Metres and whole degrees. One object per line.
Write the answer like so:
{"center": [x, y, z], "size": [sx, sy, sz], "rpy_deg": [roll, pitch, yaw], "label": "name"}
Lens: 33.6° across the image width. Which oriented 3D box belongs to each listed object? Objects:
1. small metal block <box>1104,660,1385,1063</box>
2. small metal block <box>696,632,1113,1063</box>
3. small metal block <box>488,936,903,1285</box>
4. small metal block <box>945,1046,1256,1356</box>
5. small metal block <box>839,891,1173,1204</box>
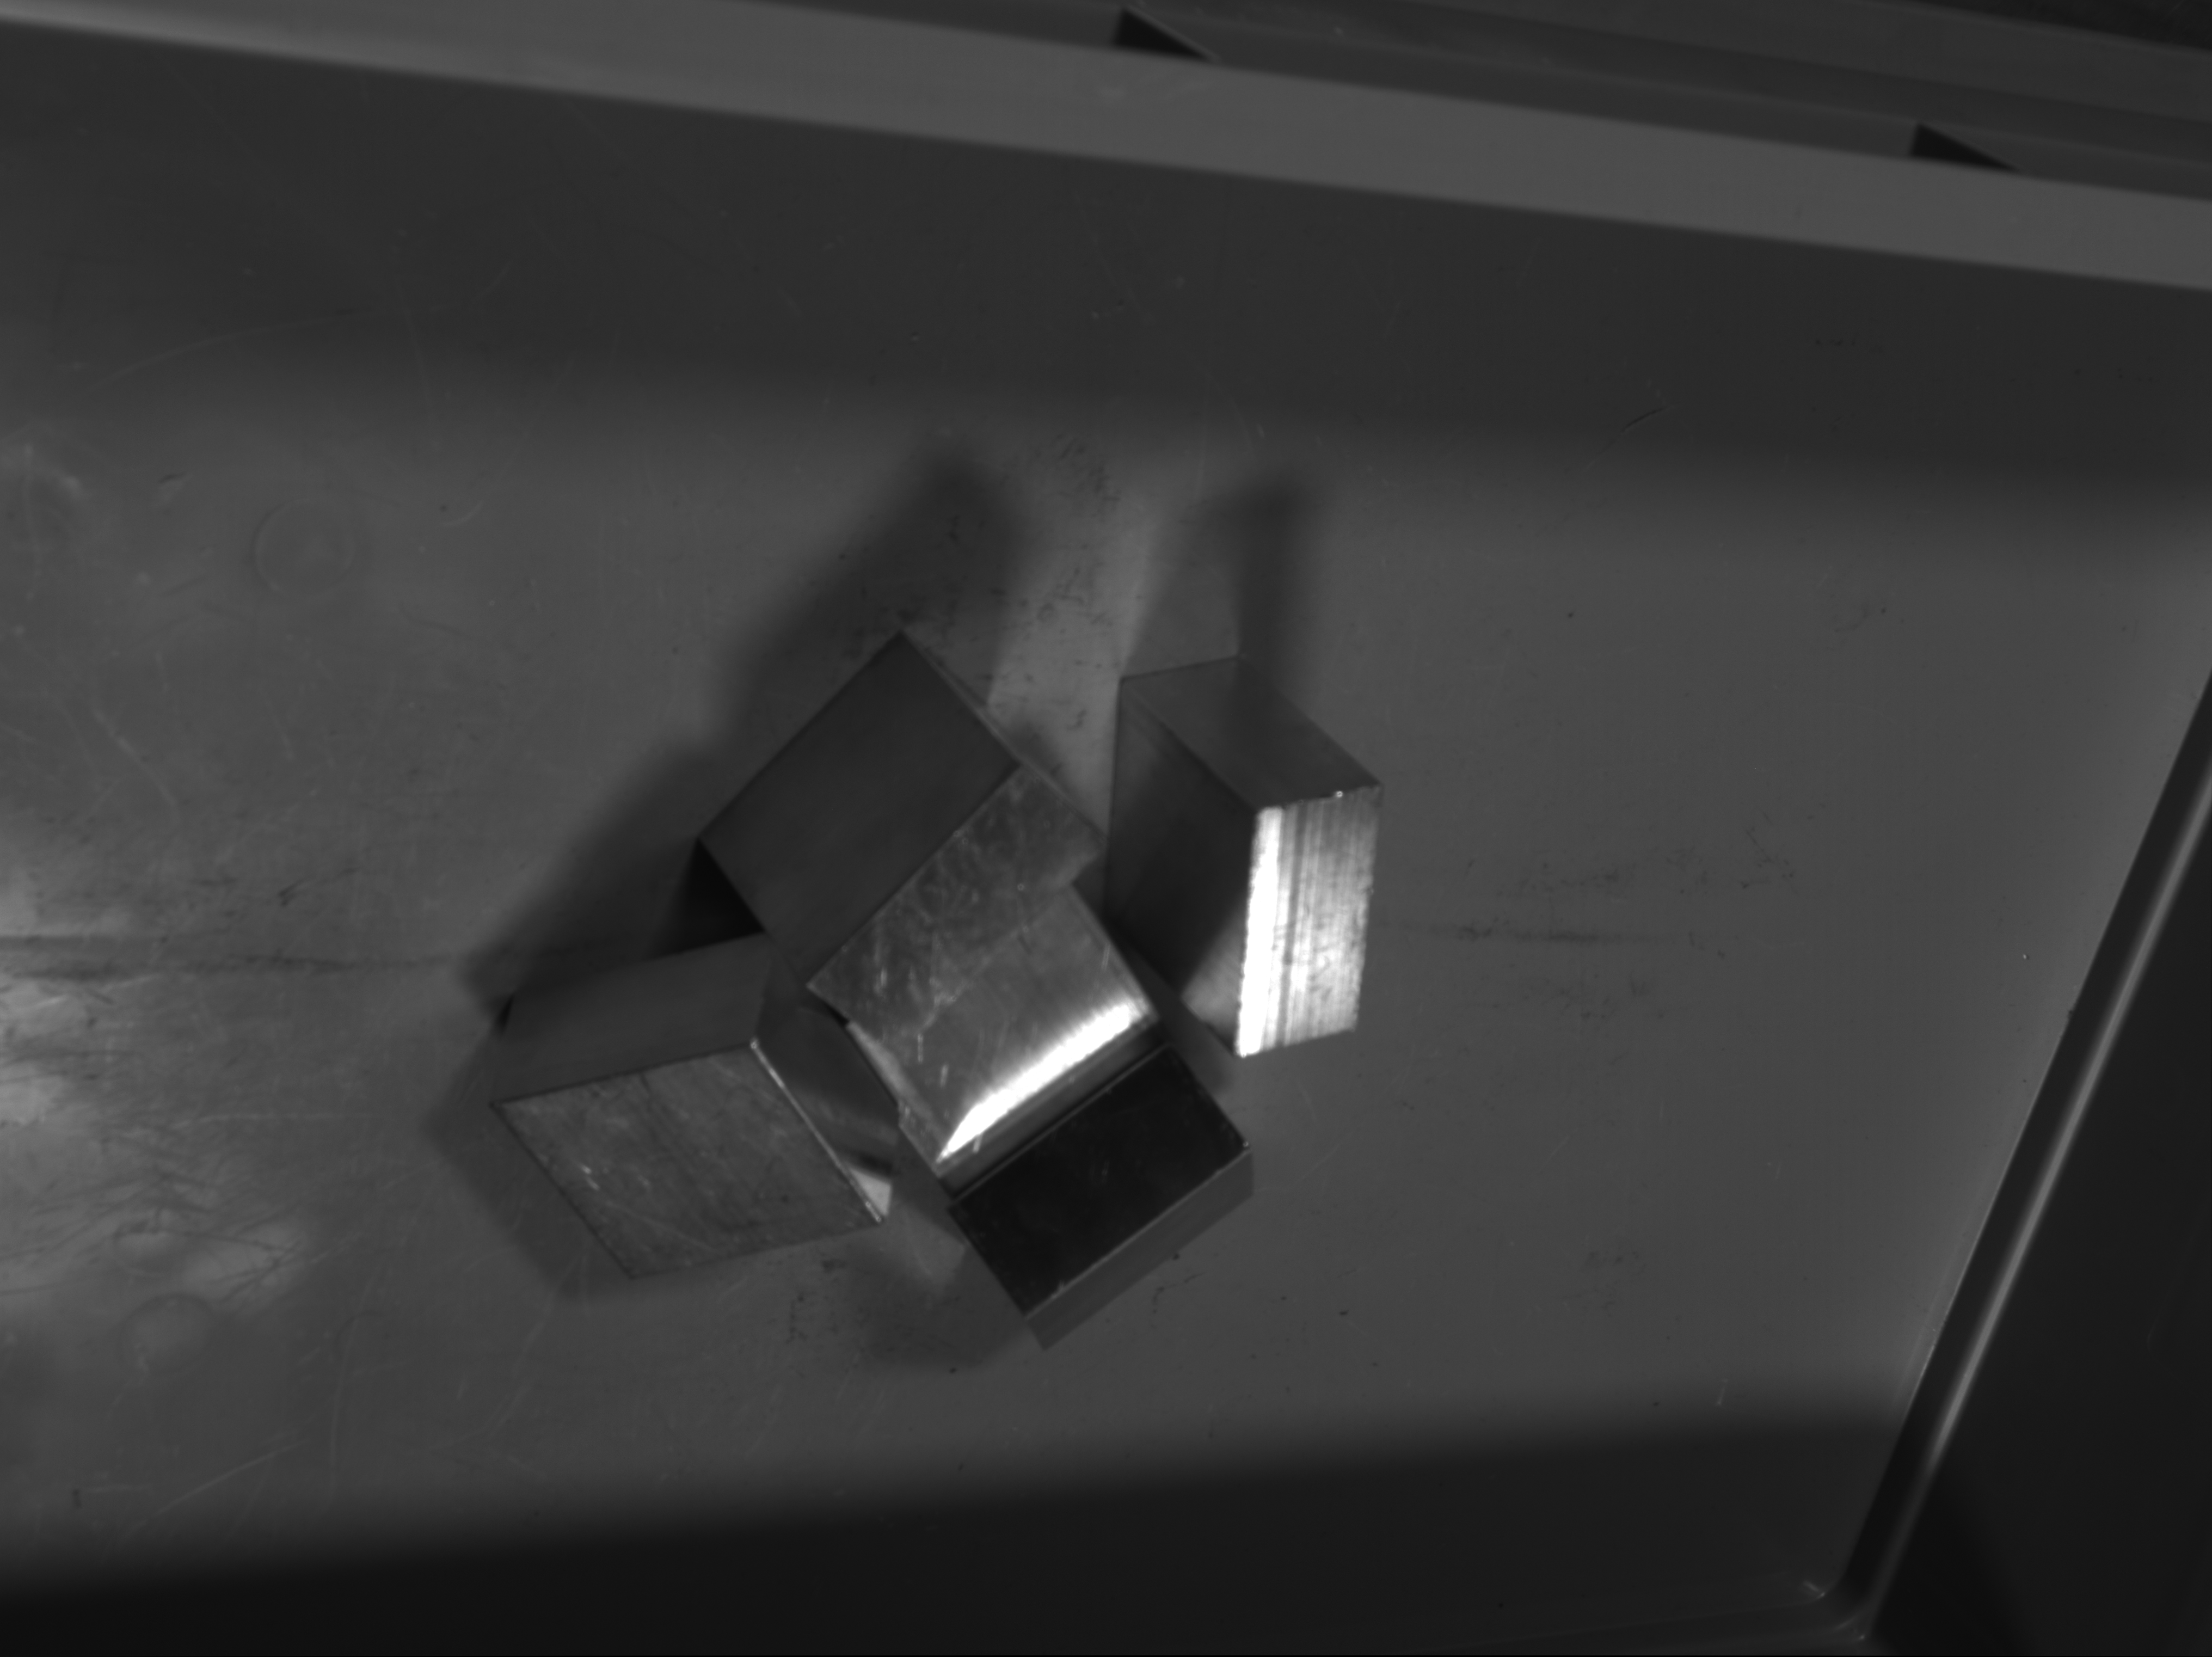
{"center": [0.023, 0.005, 0.649], "size": [0.025, 0.050, 0.050], "rpy_deg": [-12, 123, -25], "label": "small metal block"}
{"center": [-0.034, 0.003, 0.614], "size": [0.050, 0.050, 0.025], "rpy_deg": [-45, 130, 2], "label": "small metal block"}
{"center": [-0.069, 0.048, 0.624], "size": [0.050, 0.025, 0.050], "rpy_deg": [-14, 132, 18], "label": "small metal block"}
{"center": [0.000, 0.069, 0.675], "size": [0.050, 0.025, 0.050], "rpy_deg": [-36, 167, -7], "label": "small metal block"}
{"center": [-0.023, 0.032, 0.655], "size": [0.050, 0.025, 0.050], "rpy_deg": [-36, 130, -6], "label": "small metal block"}
